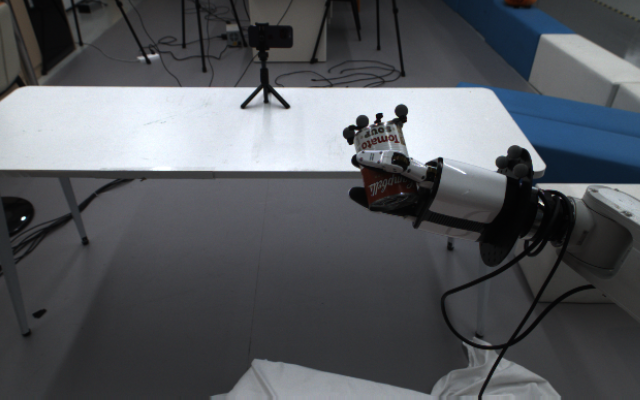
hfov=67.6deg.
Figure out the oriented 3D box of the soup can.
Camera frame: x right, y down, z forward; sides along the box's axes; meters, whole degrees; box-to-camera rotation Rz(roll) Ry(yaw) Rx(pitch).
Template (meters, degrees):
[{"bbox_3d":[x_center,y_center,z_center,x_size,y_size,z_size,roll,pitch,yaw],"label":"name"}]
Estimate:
[{"bbox_3d":[0.088,-0.044,0.640,0.067,0.067,0.101,-8,74,-14],"label":"soup can"}]
